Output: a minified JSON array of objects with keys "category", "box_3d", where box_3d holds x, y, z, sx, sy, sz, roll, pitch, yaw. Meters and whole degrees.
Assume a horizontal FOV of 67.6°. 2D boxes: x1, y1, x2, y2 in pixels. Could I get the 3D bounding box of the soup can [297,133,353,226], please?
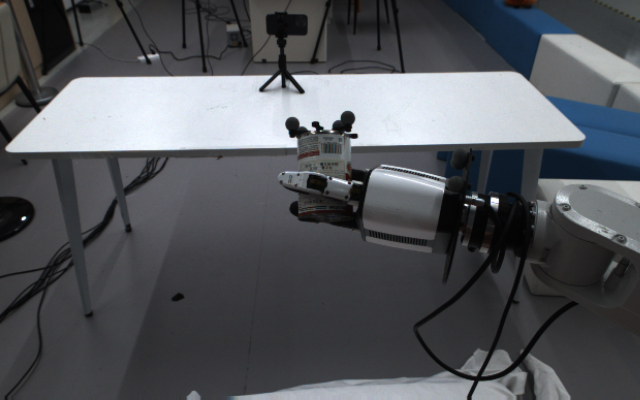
[{"category":"soup can","box_3d":[0.007,-0.026,0.586,0.067,0.101,0.067,-1,-9,0]}]
